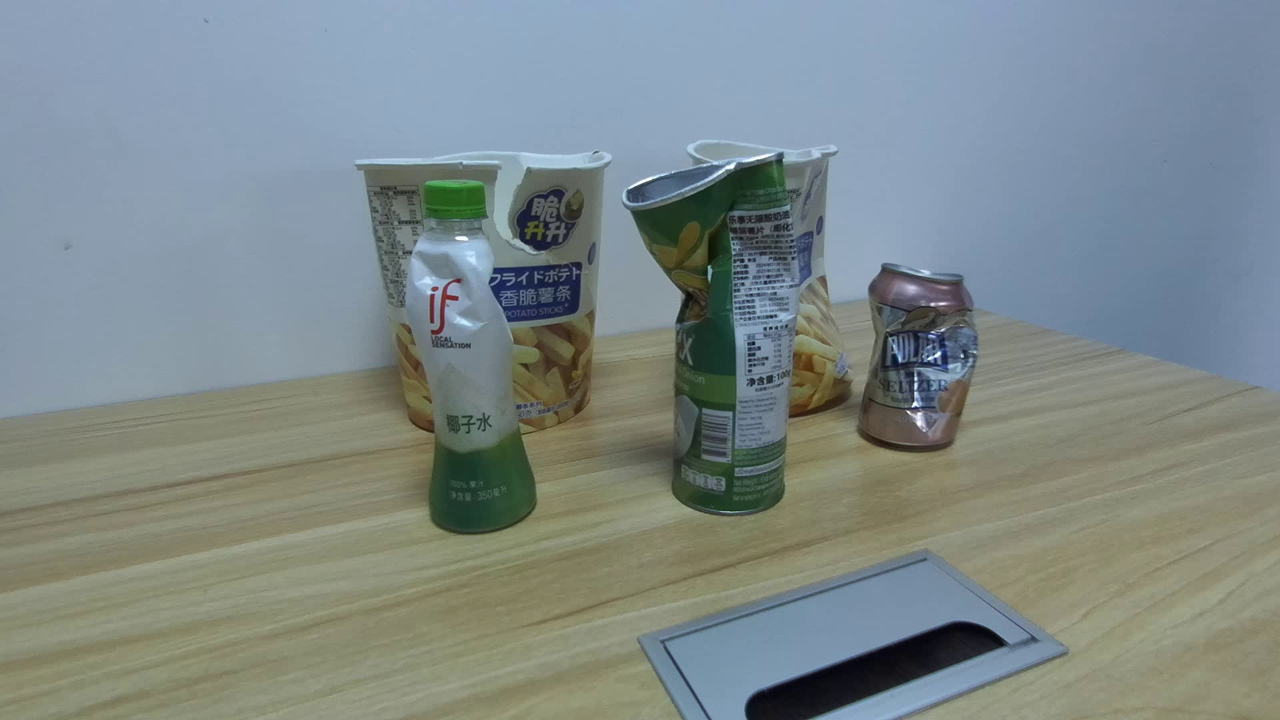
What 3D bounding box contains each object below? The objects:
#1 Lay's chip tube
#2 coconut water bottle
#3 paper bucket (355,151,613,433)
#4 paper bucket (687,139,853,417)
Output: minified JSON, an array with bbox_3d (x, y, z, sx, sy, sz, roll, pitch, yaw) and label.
[{"bbox_3d":[0.043,-0.010,0.397,0.071,0.199,0.078,-20,24,-28],"label":"Lay's chip tube"},{"bbox_3d":[-0.094,-0.001,0.392,0.067,0.187,0.067,-1,17,1],"label":"coconut water bottle"},{"bbox_3d":[-0.113,-0.057,0.541,0.202,0.197,0.146,5,21,19],"label":"paper bucket"},{"bbox_3d":[0.101,-0.071,0.568,0.148,0.199,0.217,-3,18,-7],"label":"paper bucket"}]
